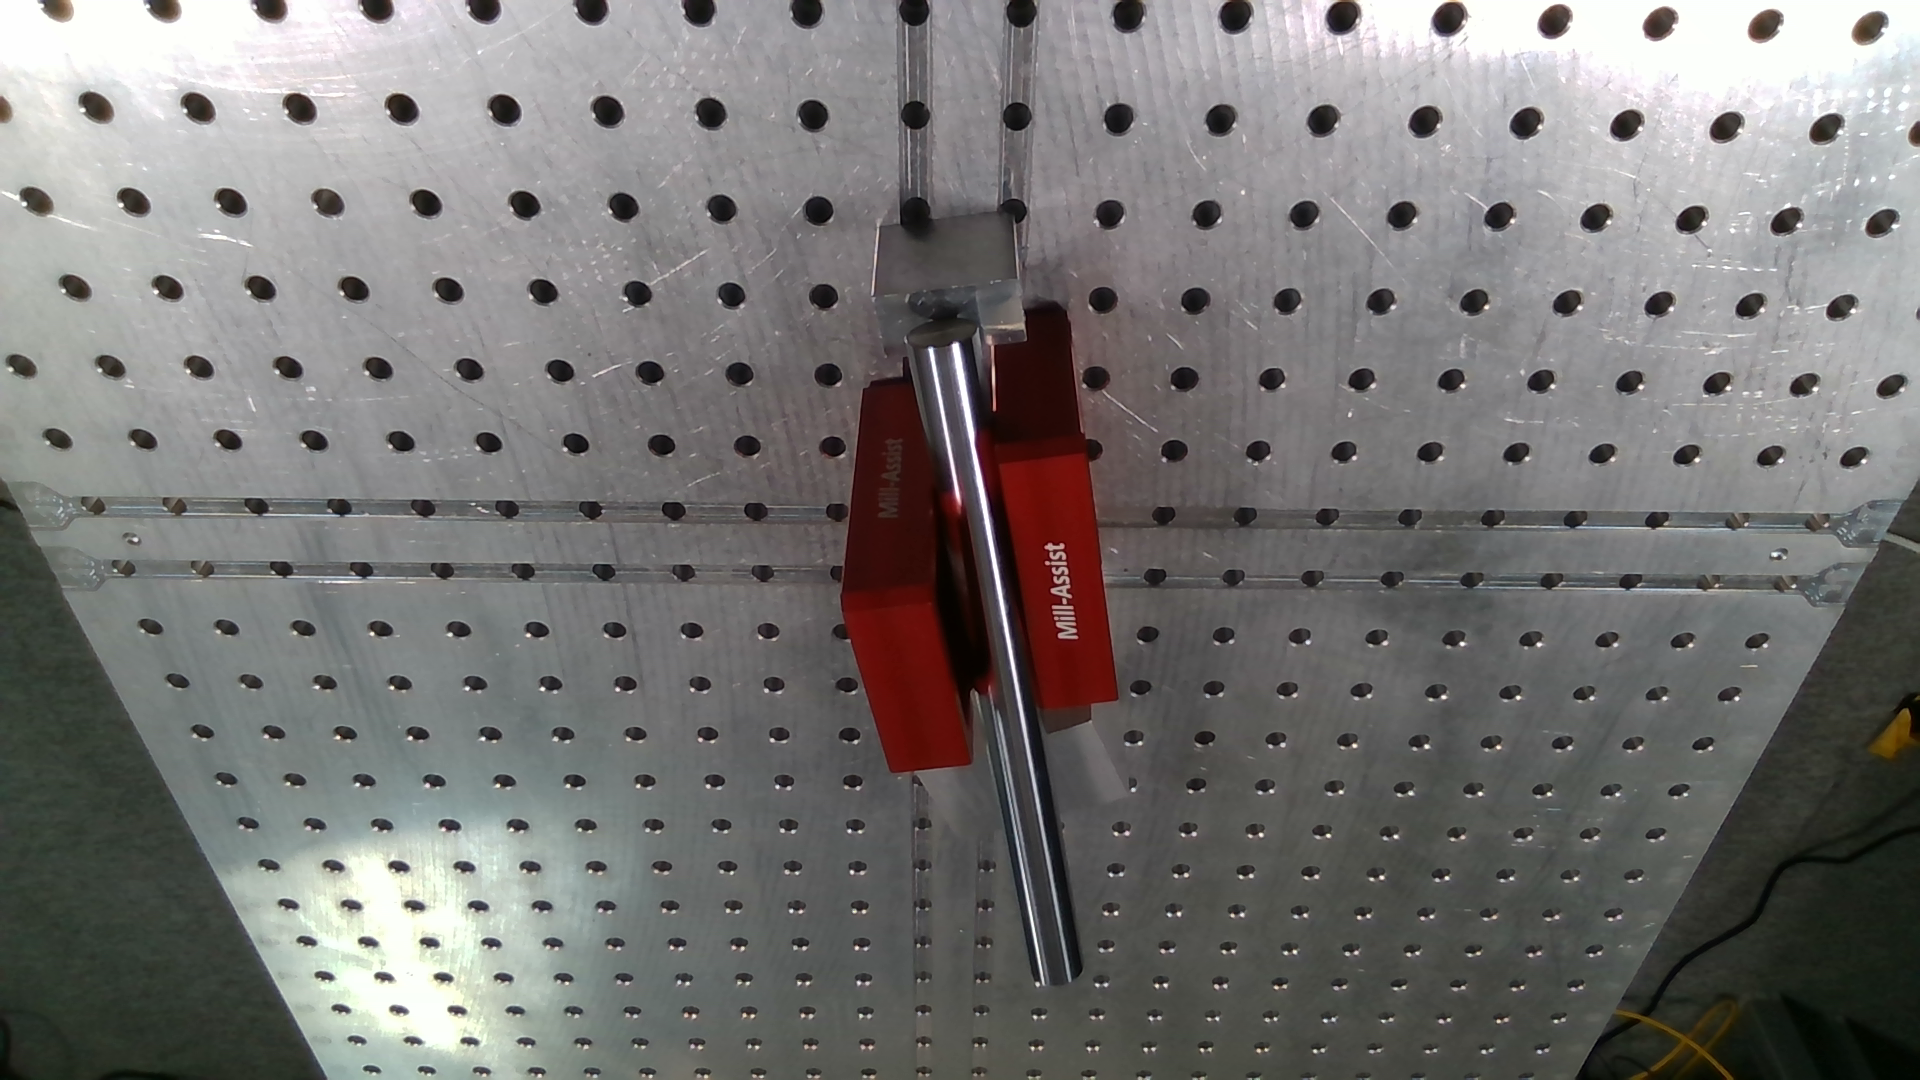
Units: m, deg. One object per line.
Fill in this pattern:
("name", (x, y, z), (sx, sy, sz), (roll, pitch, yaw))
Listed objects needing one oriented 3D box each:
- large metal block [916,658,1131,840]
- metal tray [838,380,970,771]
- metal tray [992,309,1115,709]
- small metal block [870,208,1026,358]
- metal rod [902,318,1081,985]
("large metal block", (0.026, 0.077, 0.610), (0.080, 0.080, 0.050), (-18, 128, 14))
("metal tray", (-0.017, 0.010, 0.523), (0.030, 0.130, 0.090), (-7, 130, 7))
("metal tray", (0.036, -0.010, 0.530), (0.030, 0.090, 0.130), (-6, 130, 7))
("small metal block", (-0.004, -0.092, 0.488), (0.050, 0.050, 0.025), (-6, 130, 5))
("metal rod", (0.017, 0.059, 0.534), (0.025, 0.025, 0.301), (-7, 120, 6))
